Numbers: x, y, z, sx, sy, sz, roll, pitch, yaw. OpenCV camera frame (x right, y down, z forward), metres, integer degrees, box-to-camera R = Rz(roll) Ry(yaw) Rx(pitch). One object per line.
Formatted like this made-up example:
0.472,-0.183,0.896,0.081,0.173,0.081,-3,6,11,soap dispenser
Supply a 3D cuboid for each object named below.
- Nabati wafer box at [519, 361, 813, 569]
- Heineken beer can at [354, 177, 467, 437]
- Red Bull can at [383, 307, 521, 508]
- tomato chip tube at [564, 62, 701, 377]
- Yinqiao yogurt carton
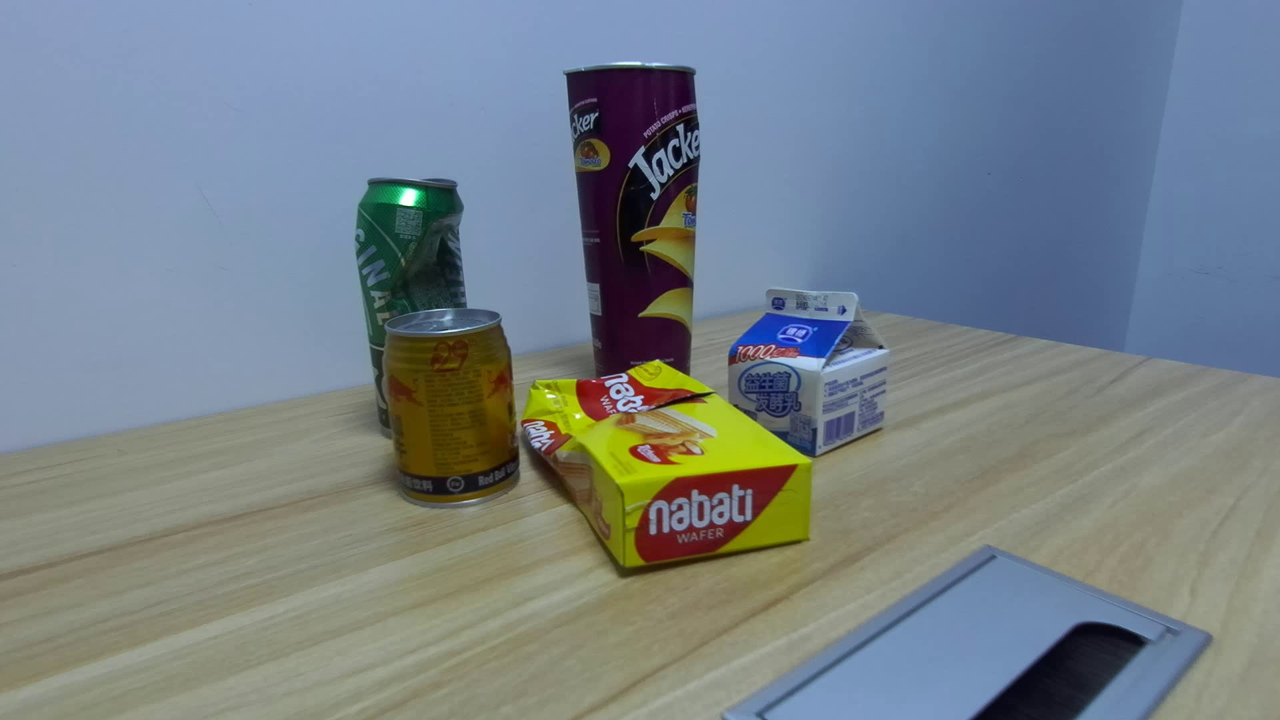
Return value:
-0.002,0.045,0.399,0.107,0.042,0.203,-6,15,-18,Nabati wafer box
-0.145,-0.033,0.462,0.078,0.164,0.065,-9,17,-33,Heineken beer can
-0.102,0.023,0.383,0.067,0.093,0.067,0,16,0,Red Bull can
0.000,-0.096,0.538,0.077,0.235,0.076,8,18,36,tomato chip tube
0.105,0.000,0.447,0.074,0.092,0.075,-15,19,-38,Yinqiao yogurt carton
